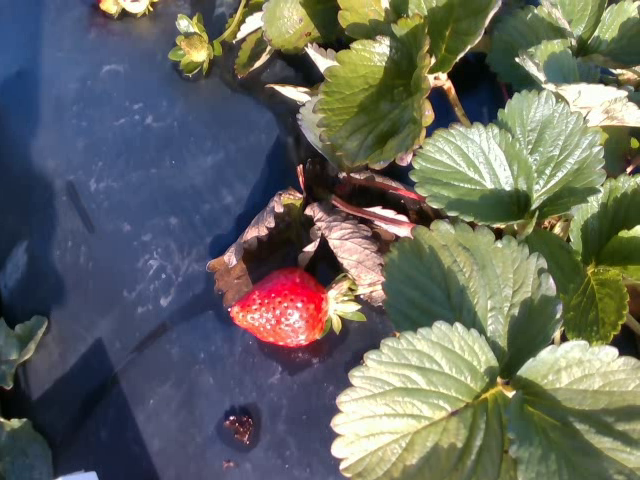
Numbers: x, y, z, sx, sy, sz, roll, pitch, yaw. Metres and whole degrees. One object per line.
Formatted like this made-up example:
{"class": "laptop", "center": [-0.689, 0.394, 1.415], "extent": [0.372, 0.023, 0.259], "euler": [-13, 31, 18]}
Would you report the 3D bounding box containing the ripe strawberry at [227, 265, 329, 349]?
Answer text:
{"class": "ripe strawberry", "center": [-0.024, 0.032, 0.255], "extent": [0.054, 0.047, 0.038], "euler": [-8, -16, -13]}
